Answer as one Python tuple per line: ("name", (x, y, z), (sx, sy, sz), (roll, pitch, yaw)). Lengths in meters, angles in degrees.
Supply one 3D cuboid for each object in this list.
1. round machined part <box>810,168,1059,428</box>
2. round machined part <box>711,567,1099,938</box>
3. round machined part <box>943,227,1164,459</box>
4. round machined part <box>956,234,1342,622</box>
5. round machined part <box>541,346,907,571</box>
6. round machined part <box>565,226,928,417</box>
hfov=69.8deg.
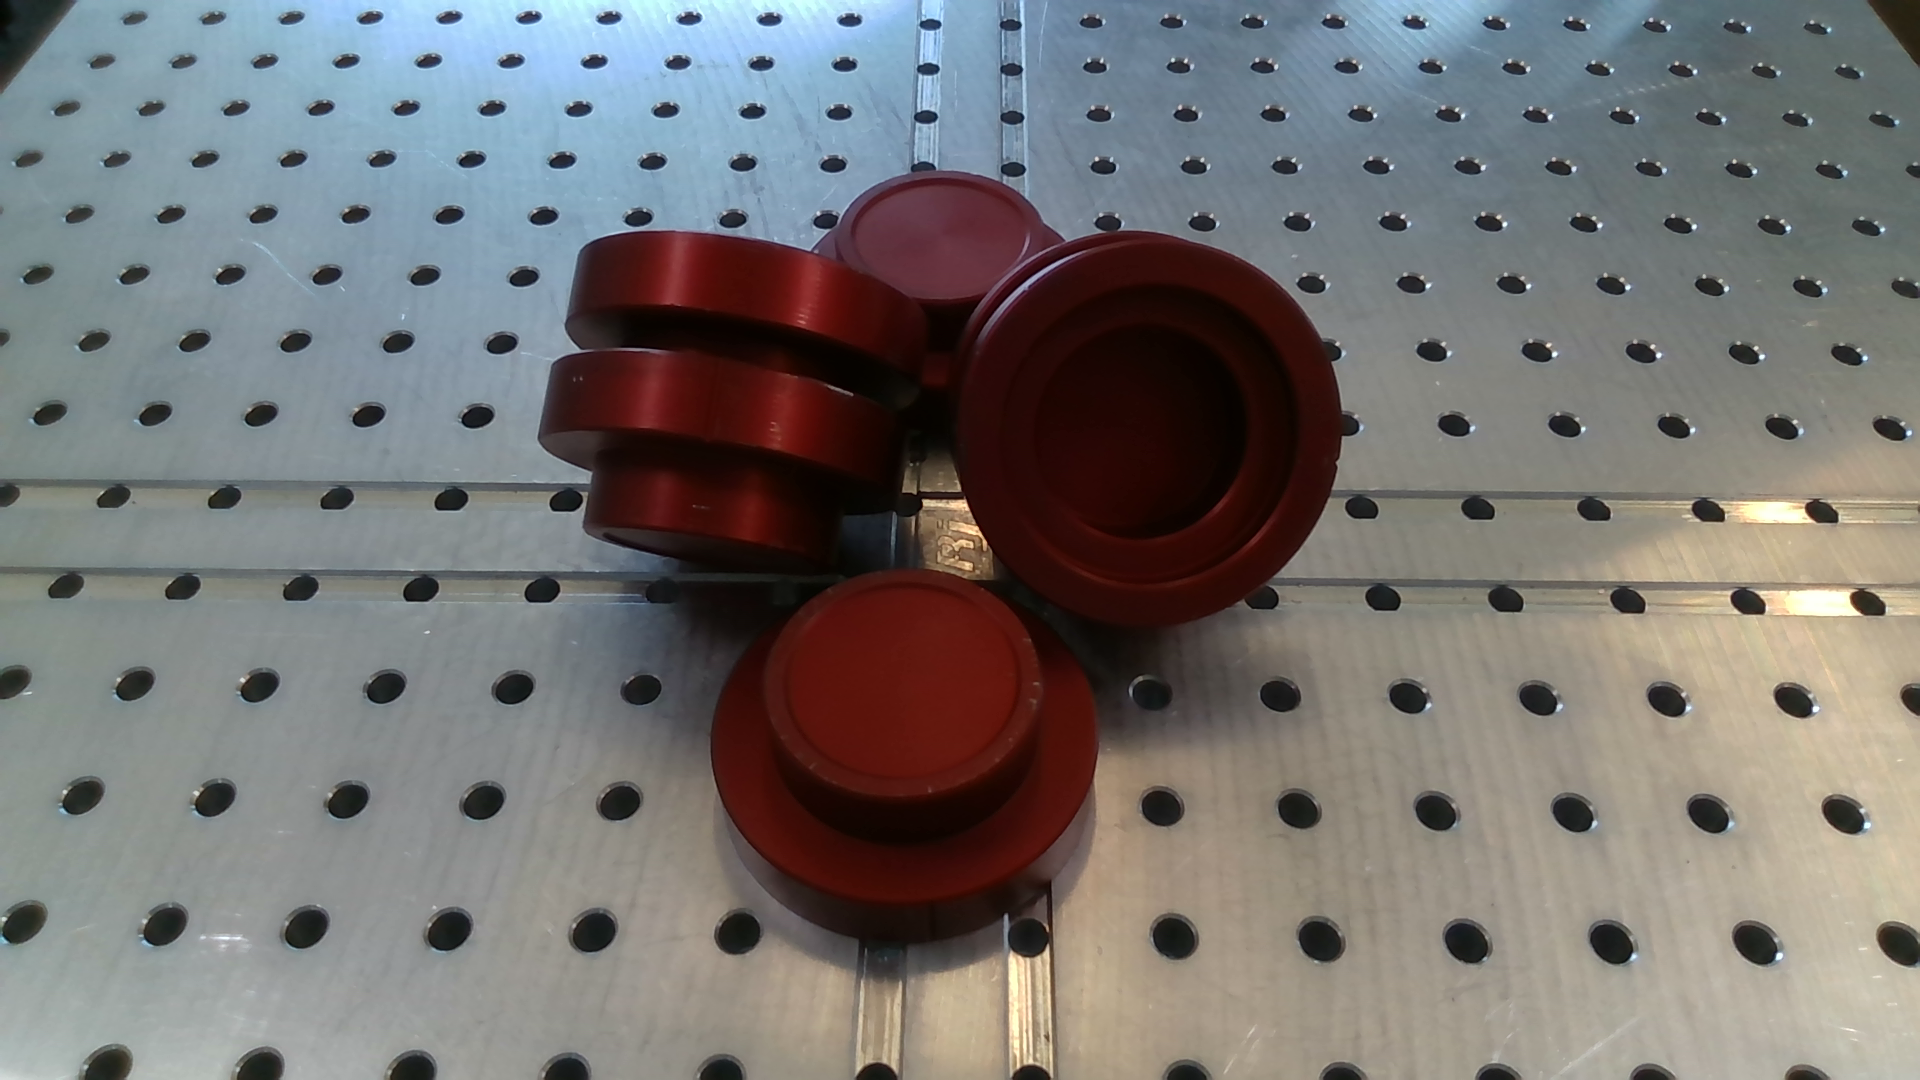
("round machined part", (-0.006, -0.086, 0.457), (0.098, 0.042, 0.098), (0, 50, 0))
("round machined part", (-0.014, 0.046, 0.348), (0.098, 0.042, 0.098), (0, 50, 0))
("round machined part", (0.044, -0.039, 0.397), (0.098, 0.098, 0.042), (-5, 11, -4))
("round machined part", (0.047, -0.030, 0.366), (0.098, 0.098, 0.042), (-5, 11, -4))
("round machined part", (-0.065, -0.018, 0.376), (0.098, 0.098, 0.042), (8, 82, 7))
("round machined part", (-0.060, -0.049, 0.384), (0.098, 0.098, 0.042), (7, 82, 6))
